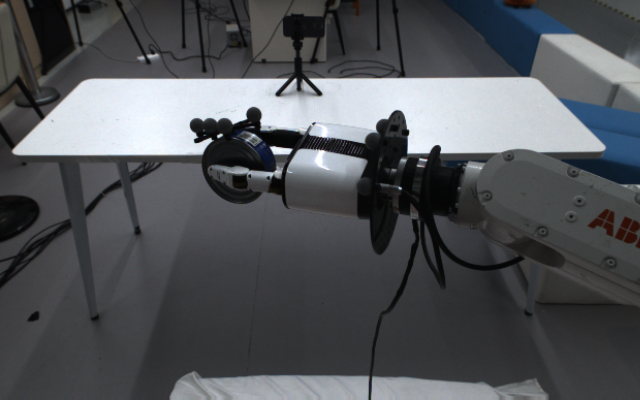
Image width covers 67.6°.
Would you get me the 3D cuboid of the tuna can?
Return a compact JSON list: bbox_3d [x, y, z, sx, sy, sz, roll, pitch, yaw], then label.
[{"bbox_3d":[-0.094,-0.036,0.584,0.085,0.085,0.034,13,29,15],"label":"tuna can"}]
